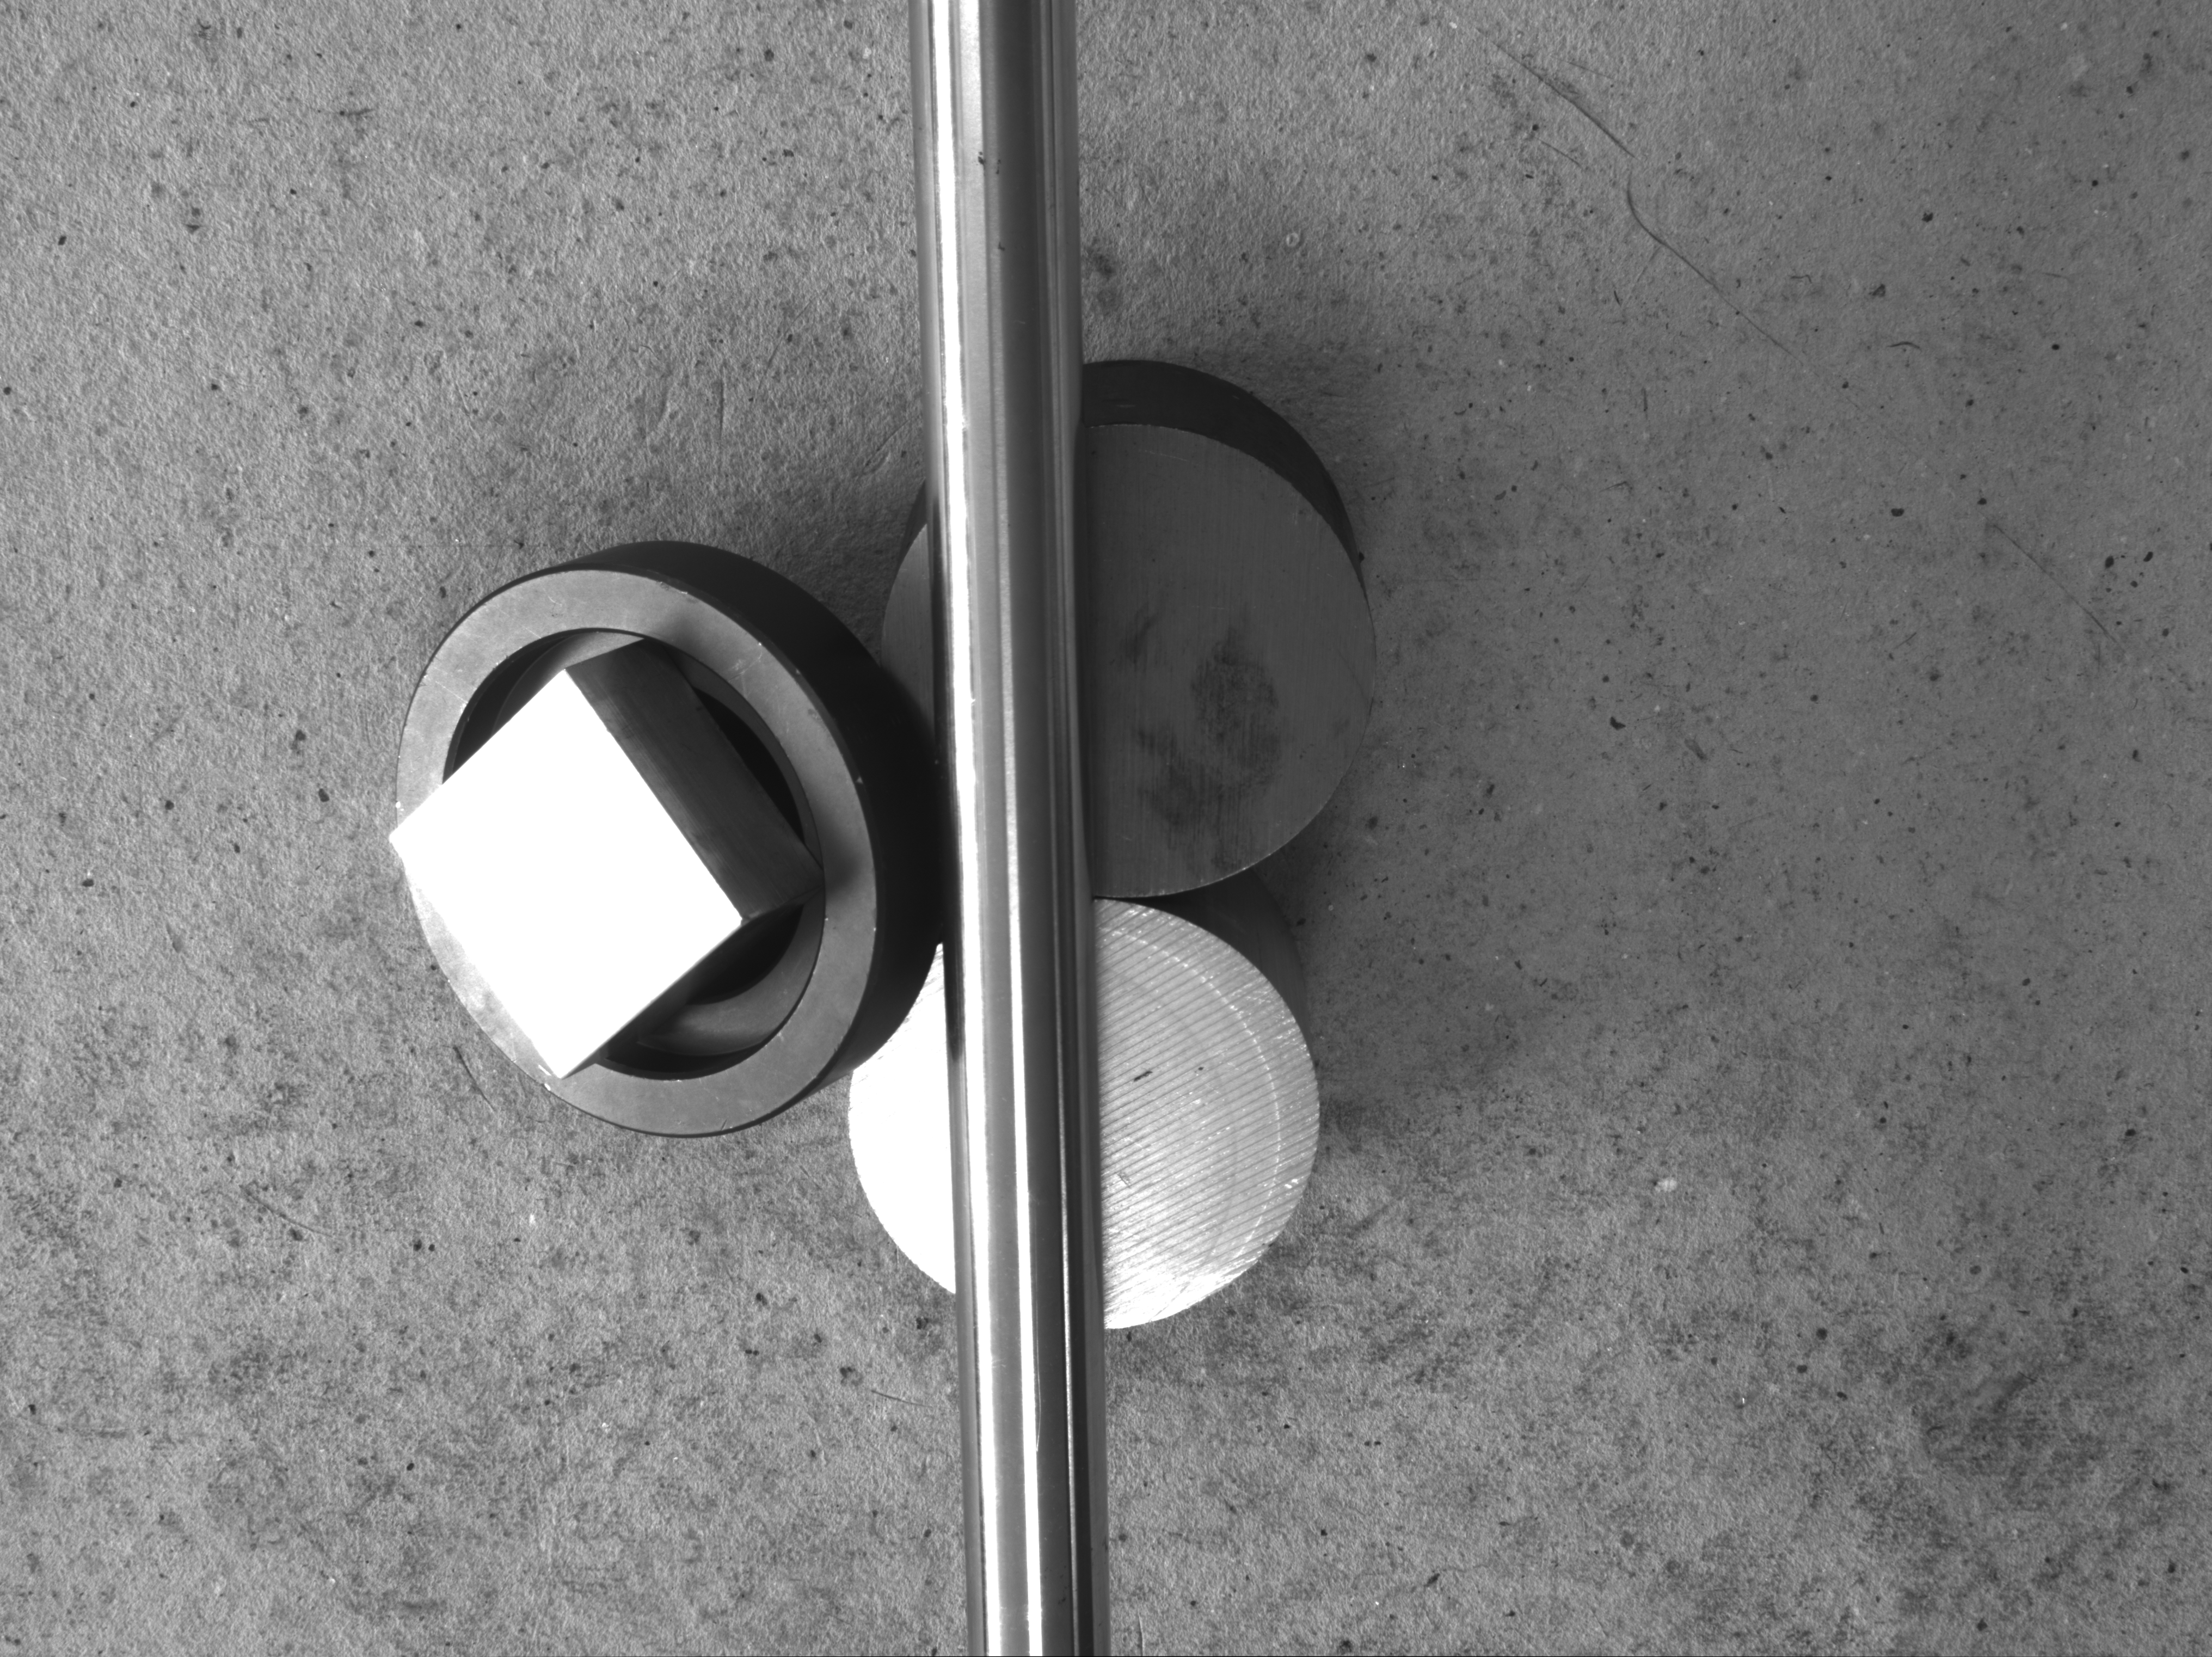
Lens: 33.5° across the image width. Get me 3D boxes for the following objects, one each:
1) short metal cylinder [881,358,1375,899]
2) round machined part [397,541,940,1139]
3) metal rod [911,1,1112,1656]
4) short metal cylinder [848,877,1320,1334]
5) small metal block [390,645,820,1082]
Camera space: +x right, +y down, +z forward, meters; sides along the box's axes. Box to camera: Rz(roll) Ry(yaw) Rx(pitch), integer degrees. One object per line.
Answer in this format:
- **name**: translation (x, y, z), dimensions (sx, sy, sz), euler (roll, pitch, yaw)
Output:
- **short metal cylinder**: translation (0.004, -0.034, 0.619), dimensions (0.080, 0.050, 0.080), euler (0, 110, 0)
- **round machined part**: translation (-0.069, -0.001, 0.621), dimensions (0.098, 0.042, 0.098), euler (9, 109, 28)
- **metal rod**: translation (-0.014, 0.012, 0.596), dimensions (0.025, 0.025, 0.300), euler (-1, 110, 0)
- **short metal cylinder**: translation (-0.004, 0.042, 0.646), dimensions (0.080, 0.050, 0.080), euler (0, 109, 0)
- **small metal block**: translation (-0.082, 0.005, 0.603), dimensions (0.050, 0.025, 0.050), euler (-39, 84, 32)
